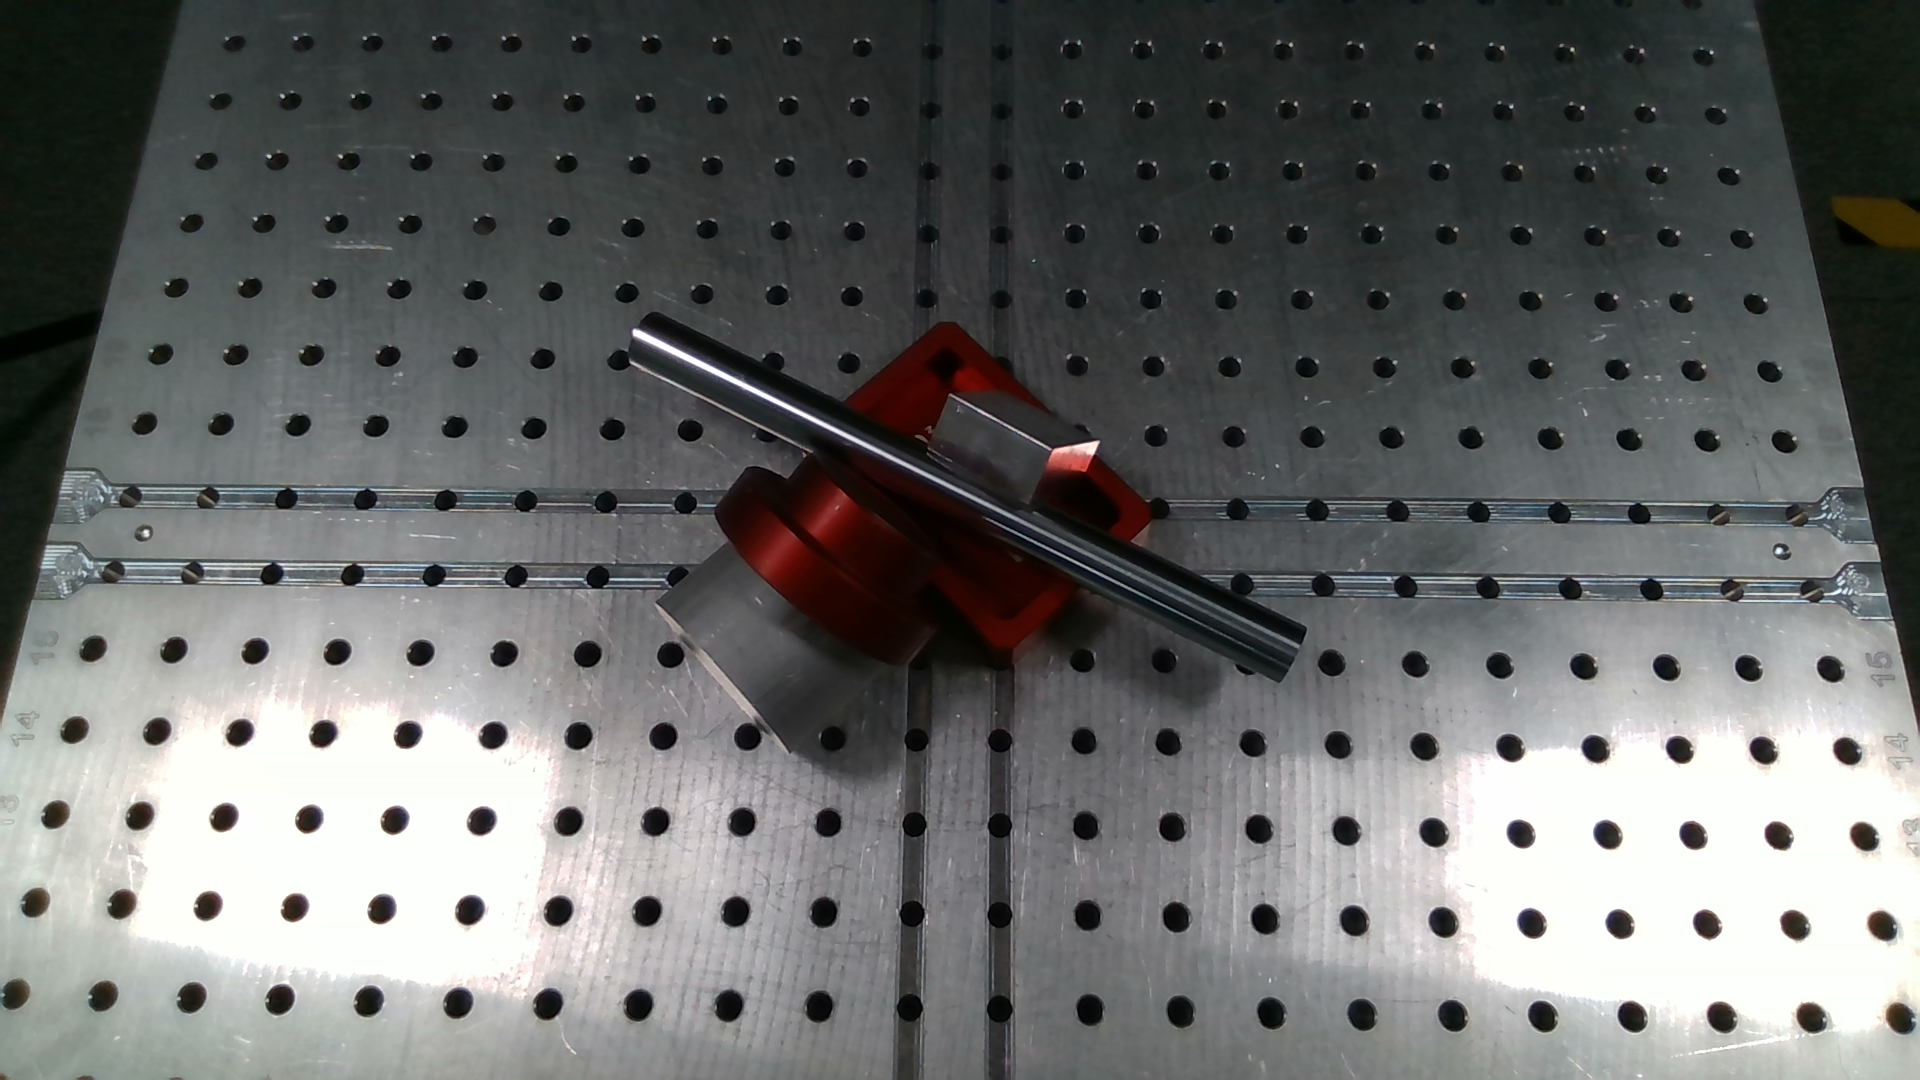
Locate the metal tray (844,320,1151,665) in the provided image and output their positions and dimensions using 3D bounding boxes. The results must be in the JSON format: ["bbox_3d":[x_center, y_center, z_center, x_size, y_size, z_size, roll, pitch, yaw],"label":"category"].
[{"bbox_3d":[0.006,-0.022,0.595,0.090,0.030,0.130,-42,75,-13],"label":"metal tray"}]

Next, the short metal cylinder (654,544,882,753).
[{"bbox_3d":[-0.076,0.038,0.546,0.050,0.080,0.080,-42,75,-14],"label":"short metal cylinder"}]

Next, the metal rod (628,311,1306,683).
[{"bbox_3d":[-0.002,-0.021,0.566,0.300,0.025,0.025,26,72,9],"label":"metal rod"}]

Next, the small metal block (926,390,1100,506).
[{"bbox_3d":[0.023,-0.039,0.568,0.050,0.050,0.025,30,111,20],"label":"small metal block"}]

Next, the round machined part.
[{"bbox_3d":[-0.045,0.001,0.540,0.098,0.098,0.042,42,97,13],"label":"round machined part"}]
